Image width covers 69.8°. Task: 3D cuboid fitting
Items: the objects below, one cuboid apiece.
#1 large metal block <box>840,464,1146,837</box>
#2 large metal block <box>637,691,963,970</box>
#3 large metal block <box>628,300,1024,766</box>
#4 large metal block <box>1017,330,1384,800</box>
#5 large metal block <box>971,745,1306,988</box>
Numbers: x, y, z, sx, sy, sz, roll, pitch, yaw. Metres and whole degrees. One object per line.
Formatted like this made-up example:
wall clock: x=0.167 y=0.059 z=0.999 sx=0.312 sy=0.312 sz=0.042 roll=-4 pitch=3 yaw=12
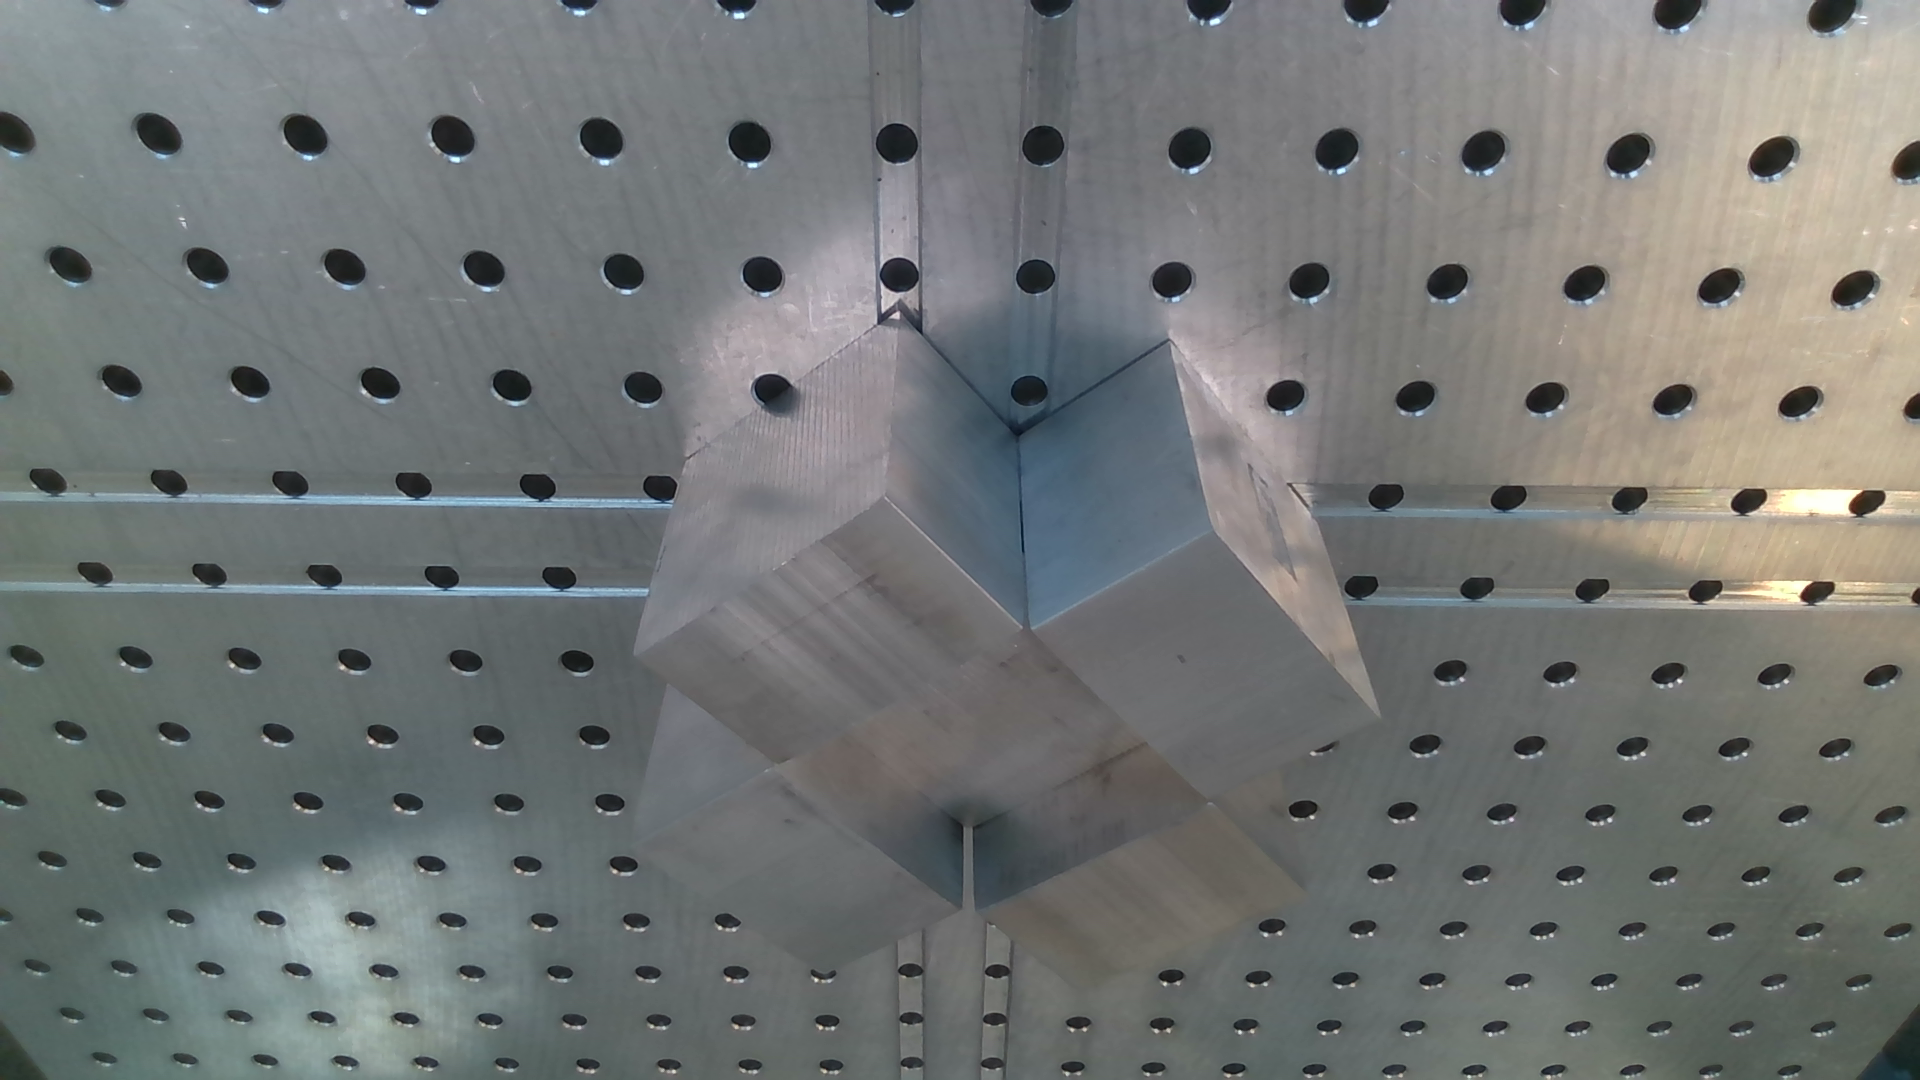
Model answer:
large metal block: x=0.009 y=0.029 z=0.398 sx=0.080 sy=0.050 sz=0.080 roll=-32 pitch=121 yaw=22
large metal block: x=-0.043 y=0.067 z=0.413 sx=0.050 sy=0.080 sz=0.080 roll=-30 pitch=124 yaw=23
large metal block: x=-0.032 y=-0.002 z=0.353 sx=0.080 sy=0.080 sz=0.050 roll=-31 pitch=123 yaw=24
large metal block: x=0.060 y=0.007 z=0.361 sx=0.050 sy=0.080 sz=0.080 roll=-31 pitch=123 yaw=24
large metal block: x=0.050 y=0.077 z=0.420 sx=0.080 sy=0.080 sz=0.050 roll=-31 pitch=124 yaw=24
